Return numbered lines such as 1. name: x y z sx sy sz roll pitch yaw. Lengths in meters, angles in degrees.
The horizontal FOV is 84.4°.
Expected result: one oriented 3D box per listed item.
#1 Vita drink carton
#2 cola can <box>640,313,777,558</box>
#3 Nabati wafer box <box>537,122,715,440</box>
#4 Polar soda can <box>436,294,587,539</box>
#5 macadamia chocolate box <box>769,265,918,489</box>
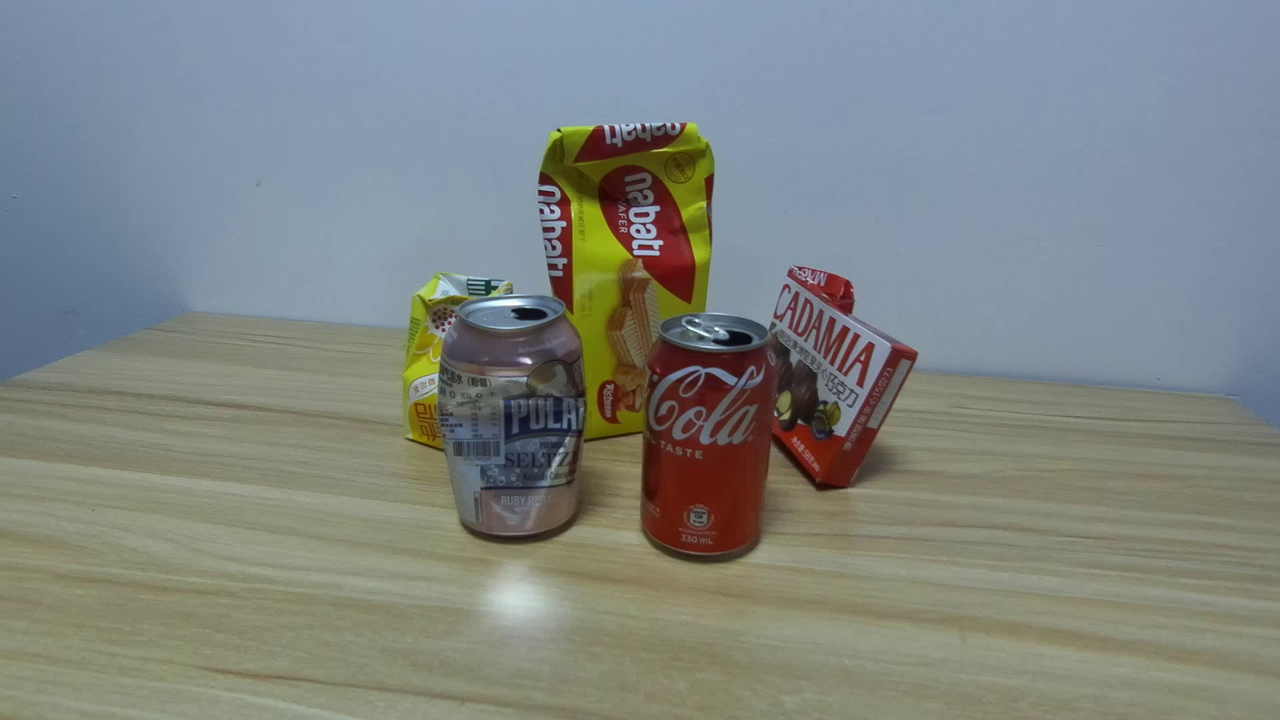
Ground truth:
1. Vita drink carton: -0.120 0.002 0.461 0.071 0.109 0.046 11 21 29
2. cola can: 0.035 0.038 0.365 0.068 0.120 0.068 2 21 -1
3. Nabati wafer box: -0.006 -0.048 0.470 0.113 0.205 0.042 -7 19 -18
4. Polar soda can: -0.064 0.031 0.375 0.074 0.122 0.067 11 23 25
5. macadamia chocolate box: 0.119 0.007 0.462 0.056 0.112 0.126 0 20 -12
